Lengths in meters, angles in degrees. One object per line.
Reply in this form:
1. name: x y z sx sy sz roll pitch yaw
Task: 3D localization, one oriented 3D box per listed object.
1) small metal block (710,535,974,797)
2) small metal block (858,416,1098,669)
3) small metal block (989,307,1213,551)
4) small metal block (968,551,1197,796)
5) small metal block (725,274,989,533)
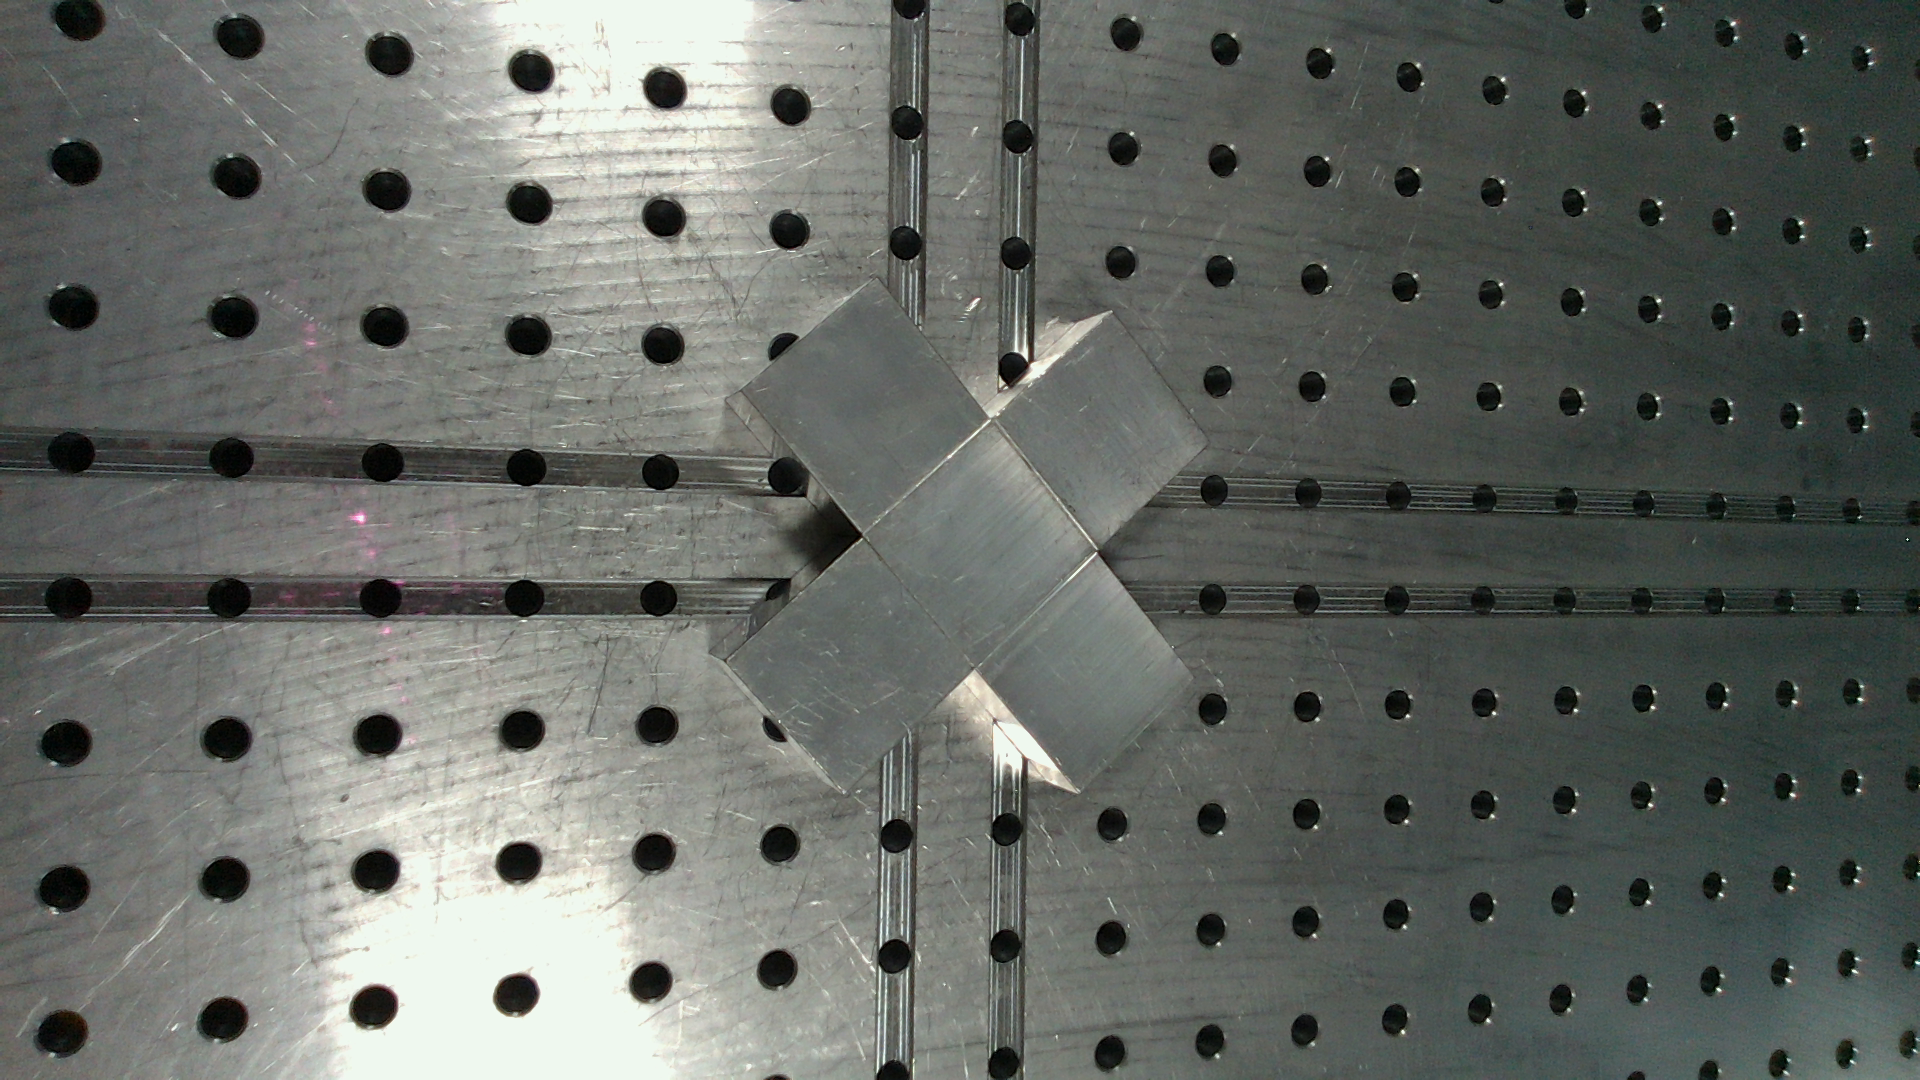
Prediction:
1. small metal block: -0.034 0.034 0.384 0.050 0.025 0.050 -43 104 -15
2. small metal block: 0.002 0.001 0.396 0.050 0.025 0.050 -43 104 -15
3. small metal block: 0.038 -0.032 0.409 0.050 0.025 0.050 -43 104 -15
4. small metal block: 0.033 0.038 0.408 0.050 0.025 0.050 -43 103 -15
5. small metal block: -0.029 -0.037 0.385 0.050 0.025 0.050 -43 103 -15
